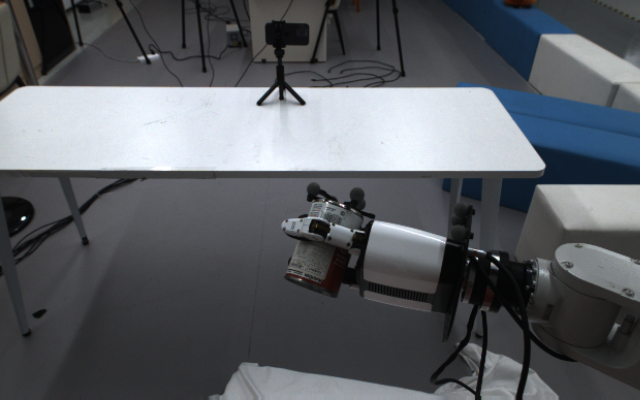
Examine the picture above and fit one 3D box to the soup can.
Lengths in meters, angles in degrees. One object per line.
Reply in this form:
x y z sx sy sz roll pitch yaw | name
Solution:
0.007 0.057 0.581 0.067 0.067 0.101 15 74 18 | soup can
